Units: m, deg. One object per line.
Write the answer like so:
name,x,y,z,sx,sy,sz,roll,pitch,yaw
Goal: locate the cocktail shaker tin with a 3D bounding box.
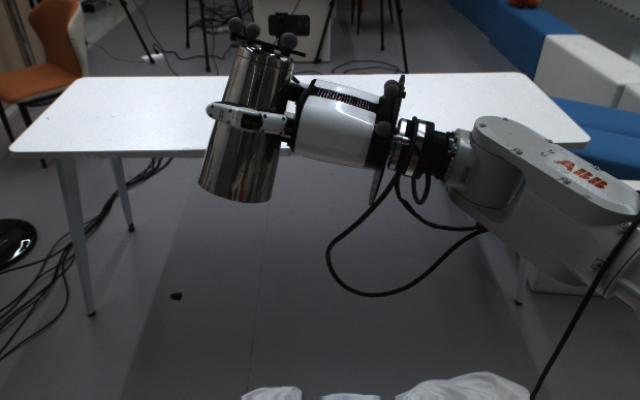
cocktail shaker tin,-0.084,-0.091,0.581,0.093,0.170,0.093,15,17,-5
